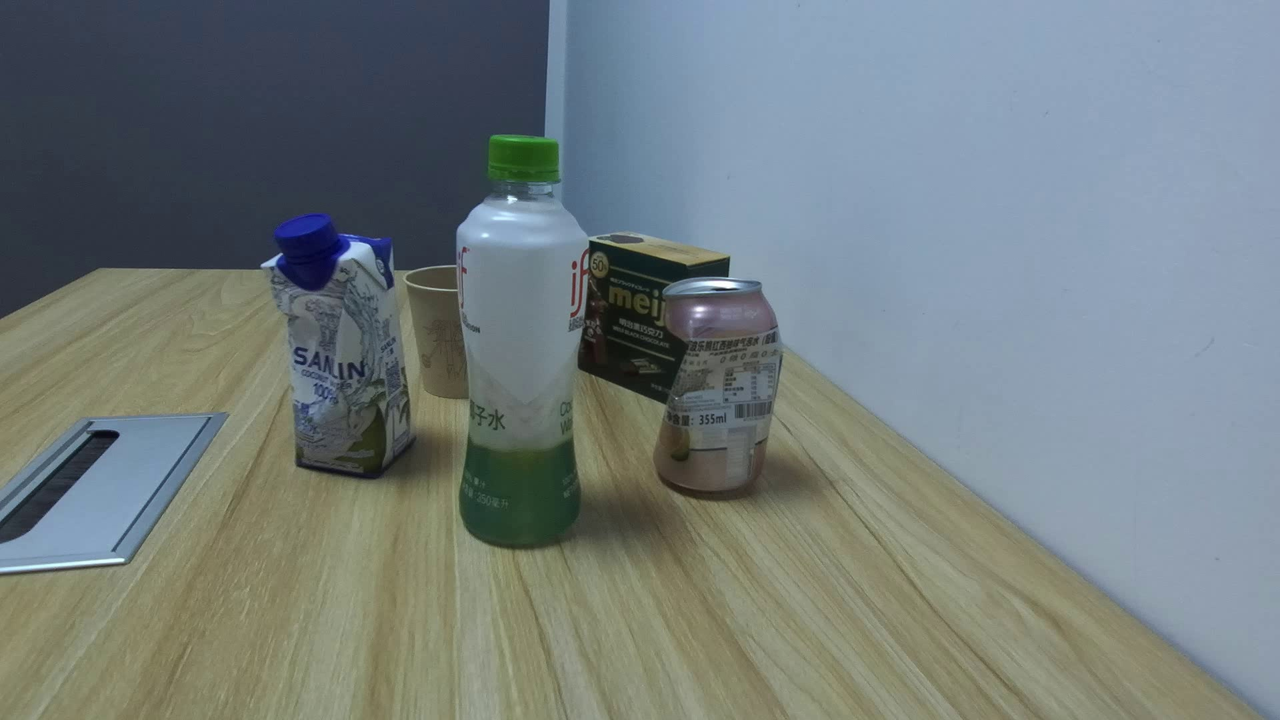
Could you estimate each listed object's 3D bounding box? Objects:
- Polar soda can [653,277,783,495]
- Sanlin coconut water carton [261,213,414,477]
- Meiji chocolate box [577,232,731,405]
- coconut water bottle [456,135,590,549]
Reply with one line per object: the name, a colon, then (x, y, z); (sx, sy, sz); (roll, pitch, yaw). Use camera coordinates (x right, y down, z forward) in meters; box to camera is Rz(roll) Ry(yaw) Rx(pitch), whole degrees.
Polar soda can: (0.038, 0.013, 0.408); (0.067, 0.122, 0.070); (-12, 23, -25)
Sanlin coconut water carton: (-0.166, -0.011, 0.396); (0.060, 0.143, 0.070); (7, 21, 11)
Meiji chocolate box: (0.007, -0.036, 0.546); (0.109, 0.109, 0.056); (19, 27, 30)
coconut water bottle: (-0.057, -0.007, 0.341); (0.063, 0.188, 0.063); (4, 18, -1)
